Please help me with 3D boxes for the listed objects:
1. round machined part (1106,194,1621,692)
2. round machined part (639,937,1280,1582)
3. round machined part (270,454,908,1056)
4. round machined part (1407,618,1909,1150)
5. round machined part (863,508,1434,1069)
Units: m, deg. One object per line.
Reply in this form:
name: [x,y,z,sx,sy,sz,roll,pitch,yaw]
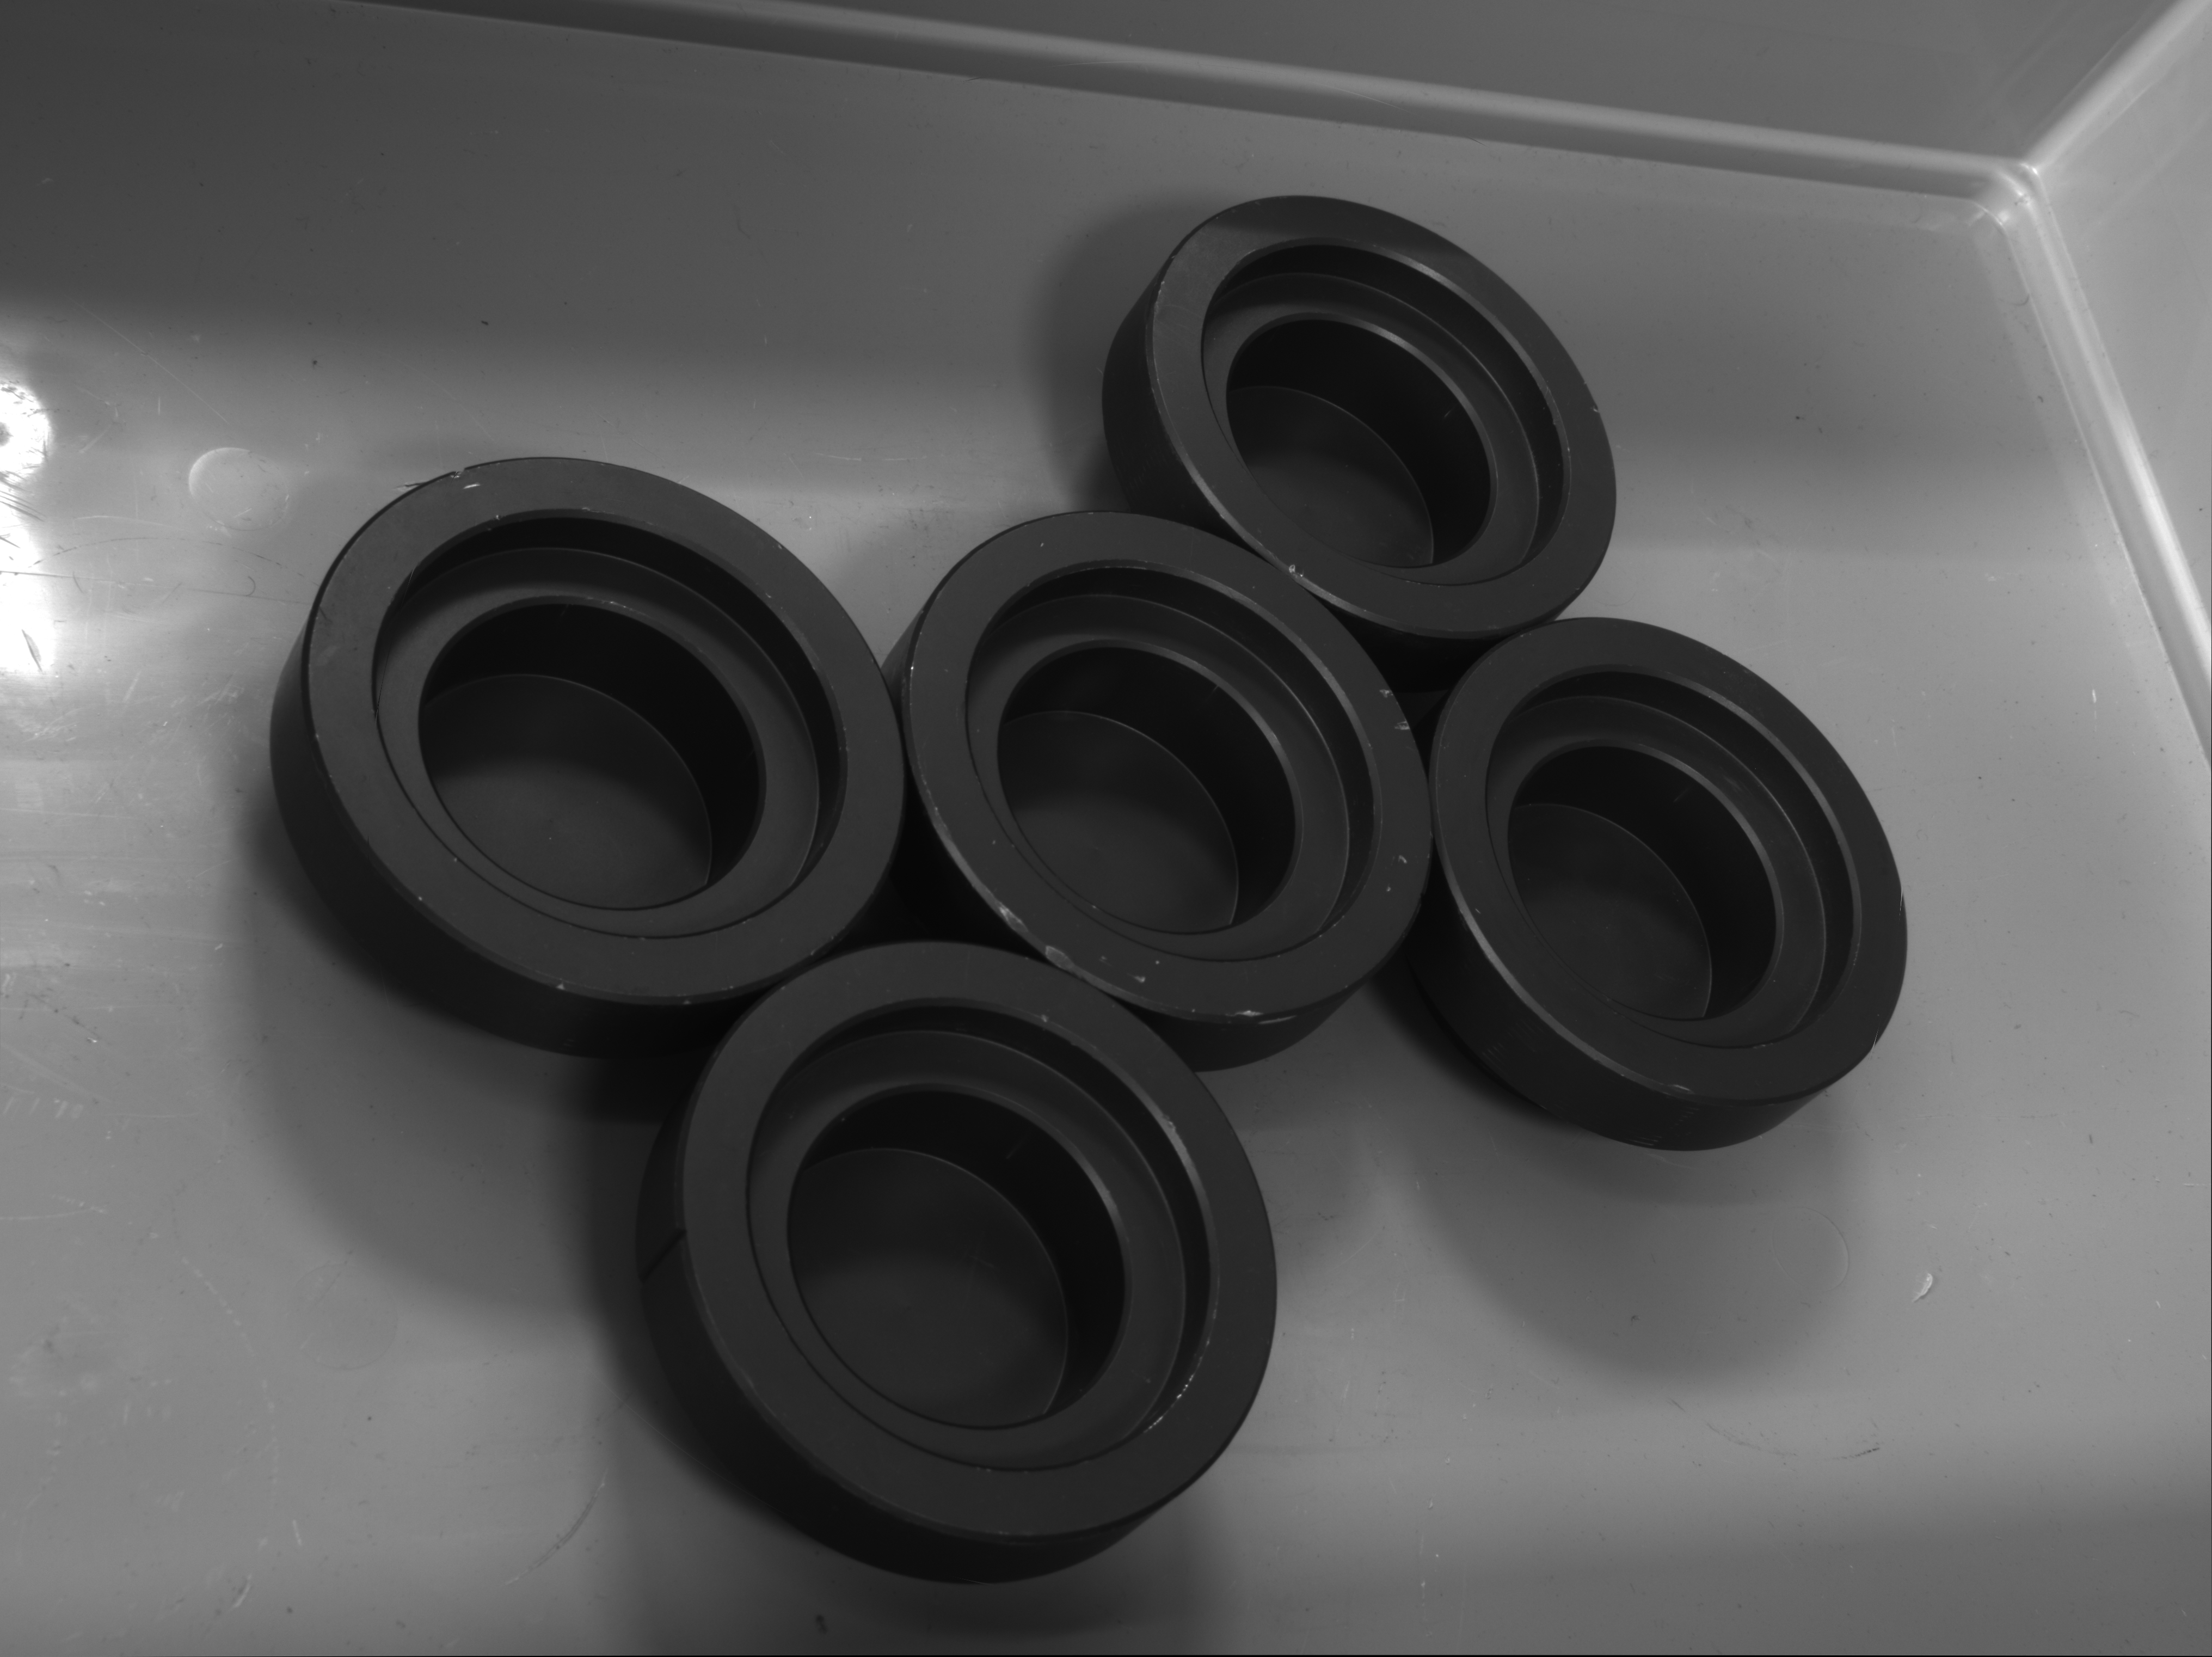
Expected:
round machined part: [0.044,-0.067,0.690,0.098,0.042,0.098,14,56,-21]
round machined part: [-0.026,0.070,0.568,0.098,0.042,0.098,14,56,-21]
round machined part: [-0.085,-0.008,0.585,0.098,0.042,0.098,14,56,-21]
round machined part: [0.093,0.014,0.666,0.098,0.042,0.098,14,56,-21]
round machined part: [0.003,-0.003,0.628,0.098,0.042,0.098,14,56,-21]
